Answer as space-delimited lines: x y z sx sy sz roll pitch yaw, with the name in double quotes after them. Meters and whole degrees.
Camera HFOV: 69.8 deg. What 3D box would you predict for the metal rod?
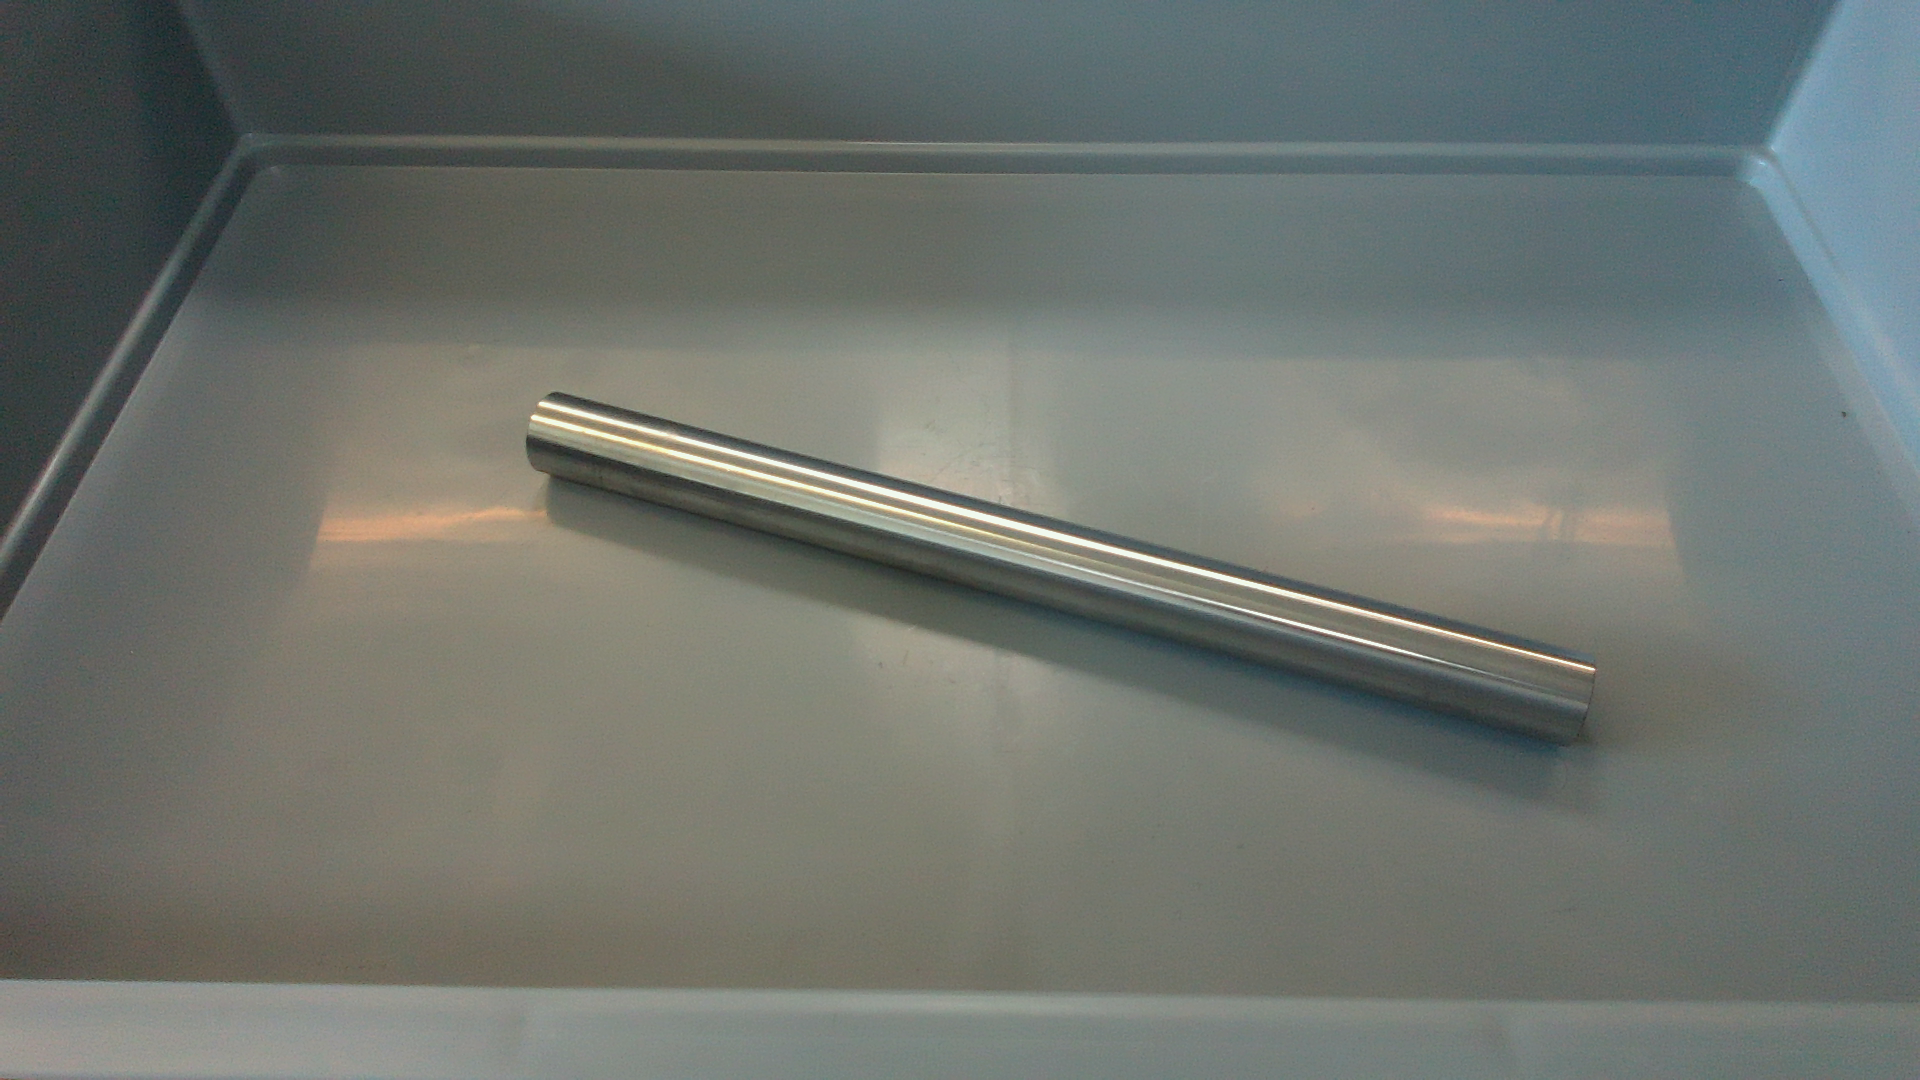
0.016 0.004 0.386 0.299 0.025 0.025 15 51 12 "metal rod"
